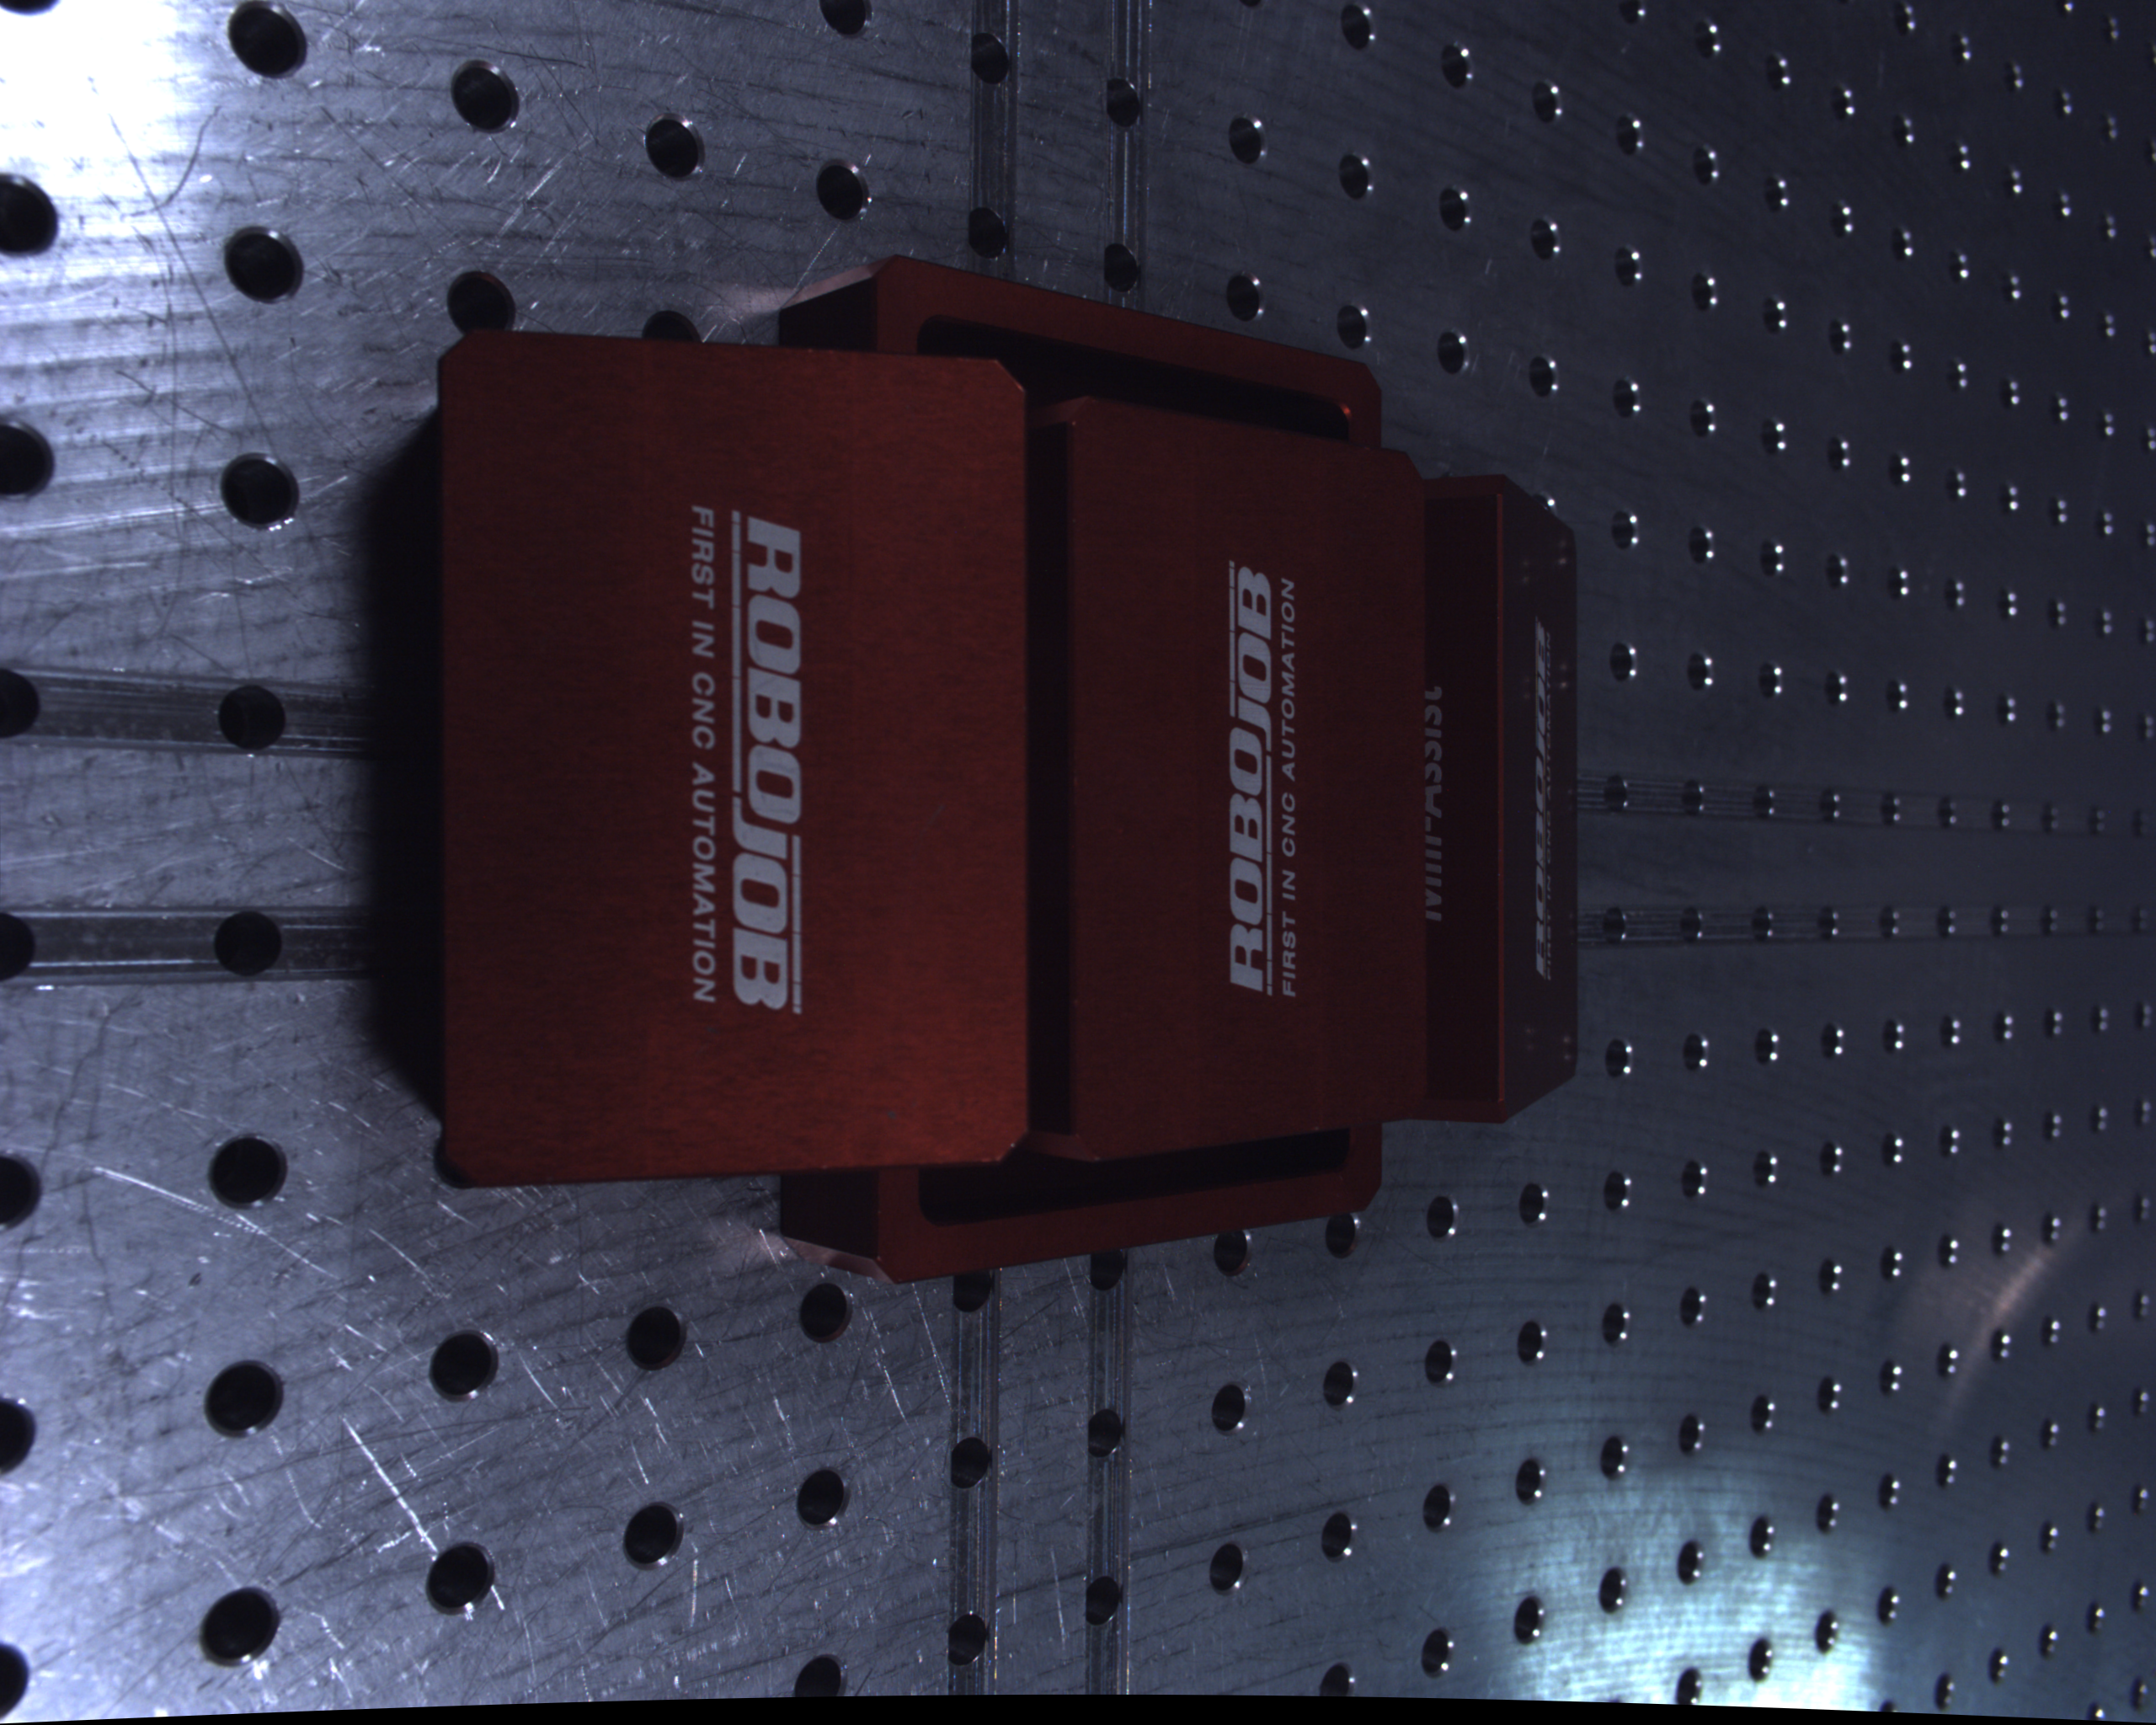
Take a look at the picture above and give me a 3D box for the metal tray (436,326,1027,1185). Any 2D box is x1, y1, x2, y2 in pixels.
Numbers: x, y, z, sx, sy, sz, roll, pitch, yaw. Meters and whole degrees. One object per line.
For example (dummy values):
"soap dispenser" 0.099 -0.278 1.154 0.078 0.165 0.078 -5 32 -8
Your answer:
"metal tray" -0.056 -0.016 0.337 0.091 0.030 0.129 0 91 -14

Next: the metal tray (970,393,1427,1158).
"metal tray" 0.024 -0.015 0.389 0.091 0.030 0.129 -1 91 -40

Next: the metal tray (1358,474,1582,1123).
"metal tray" 0.088 -0.013 0.457 0.090 0.030 0.129 -2 92 -67

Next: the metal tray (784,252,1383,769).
"metal tray" 0.005 -0.061 0.412 0.131 0.030 0.089 0 90 -40

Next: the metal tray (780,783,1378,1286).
"metal tray" 0.005 0.029 0.413 0.131 0.030 0.089 0 90 -40
